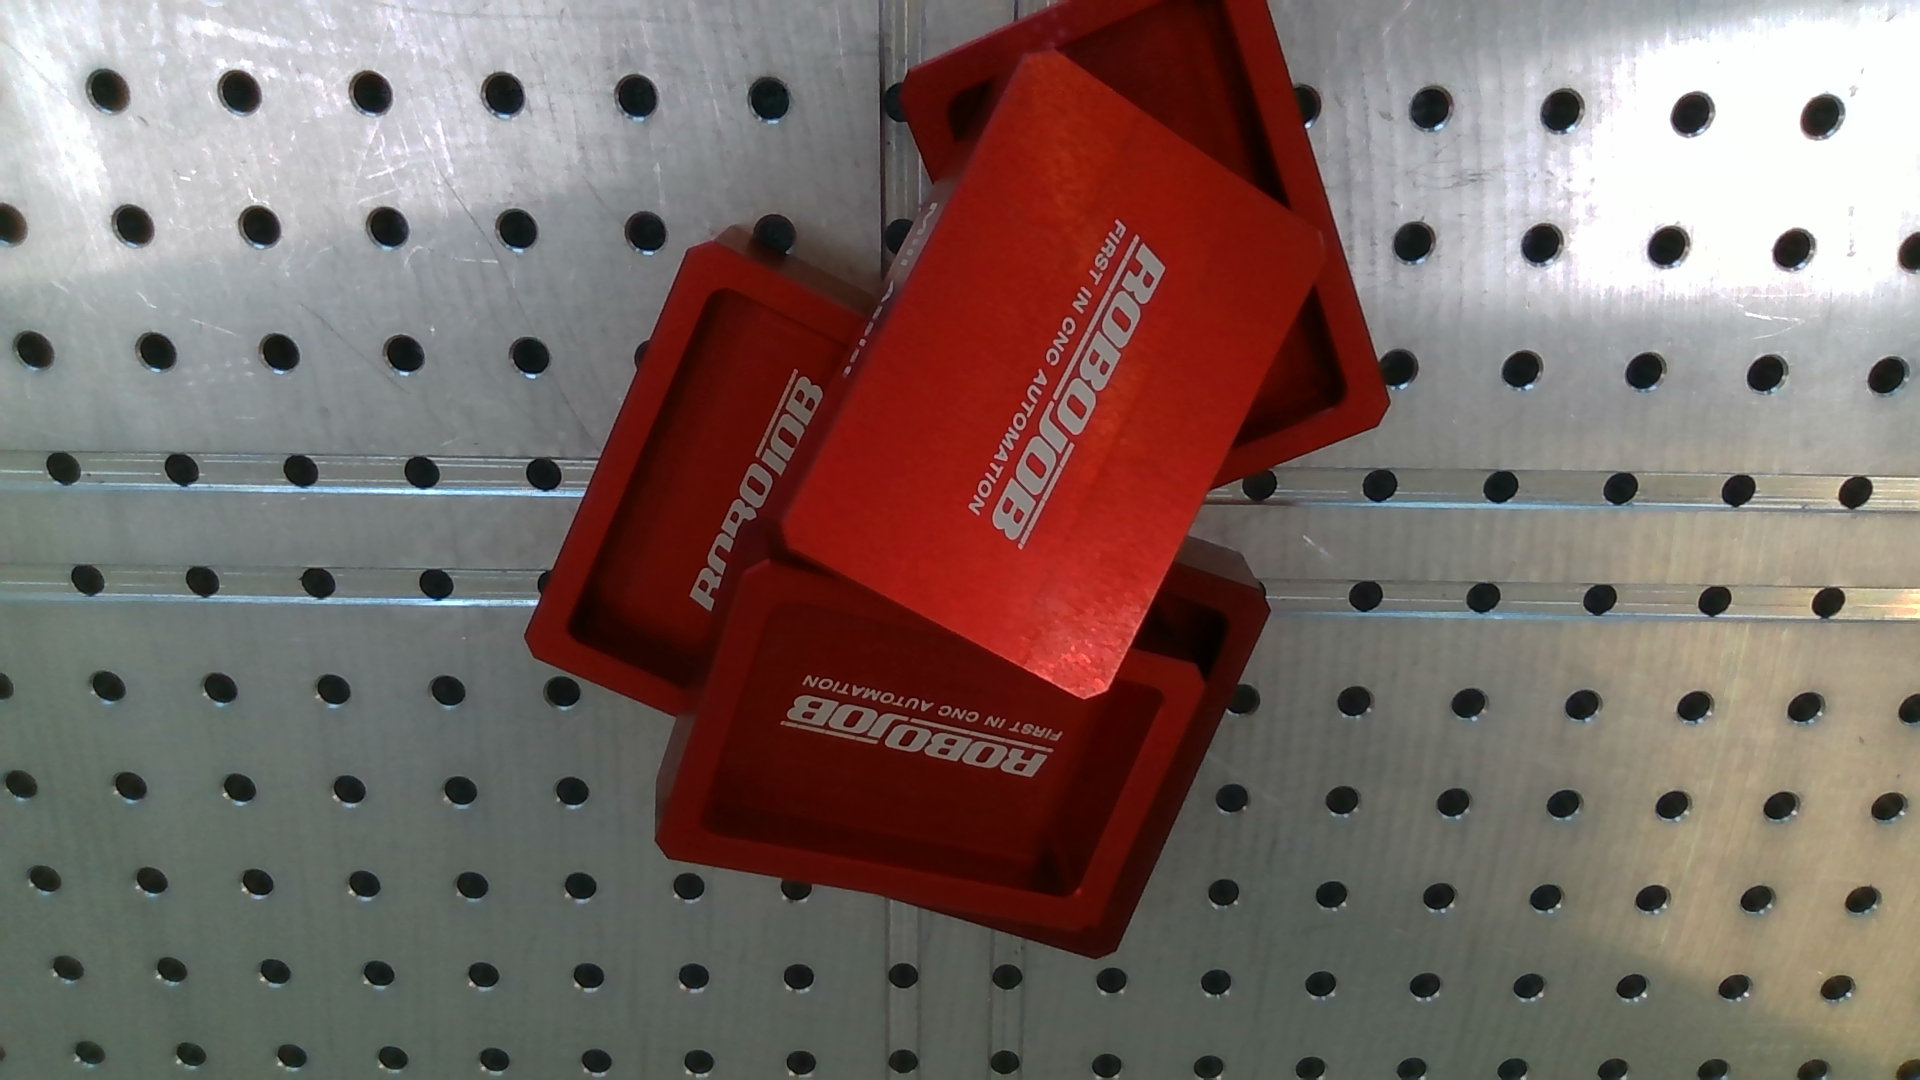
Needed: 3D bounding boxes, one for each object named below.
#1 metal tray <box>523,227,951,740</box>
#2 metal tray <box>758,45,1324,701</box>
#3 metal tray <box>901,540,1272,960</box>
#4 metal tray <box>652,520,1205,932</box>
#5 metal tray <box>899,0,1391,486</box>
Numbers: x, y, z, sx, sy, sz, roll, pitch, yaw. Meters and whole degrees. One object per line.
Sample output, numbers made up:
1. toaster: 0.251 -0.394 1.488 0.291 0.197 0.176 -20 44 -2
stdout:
1. metal tray: -0.056 -0.010 0.389 0.090 0.030 0.130 25 108 -9
2. metal tray: 0.021 -0.038 0.335 0.090 0.030 0.130 28 86 -17
3. metal tray: 0.025 0.055 0.412 0.090 0.030 0.130 18 108 -7
4. metal tray: -0.010 0.053 0.379 0.130 0.030 0.090 15 109 -18
5. metal tray: 0.049 -0.078 0.364 0.090 0.030 0.130 -21 108 7
